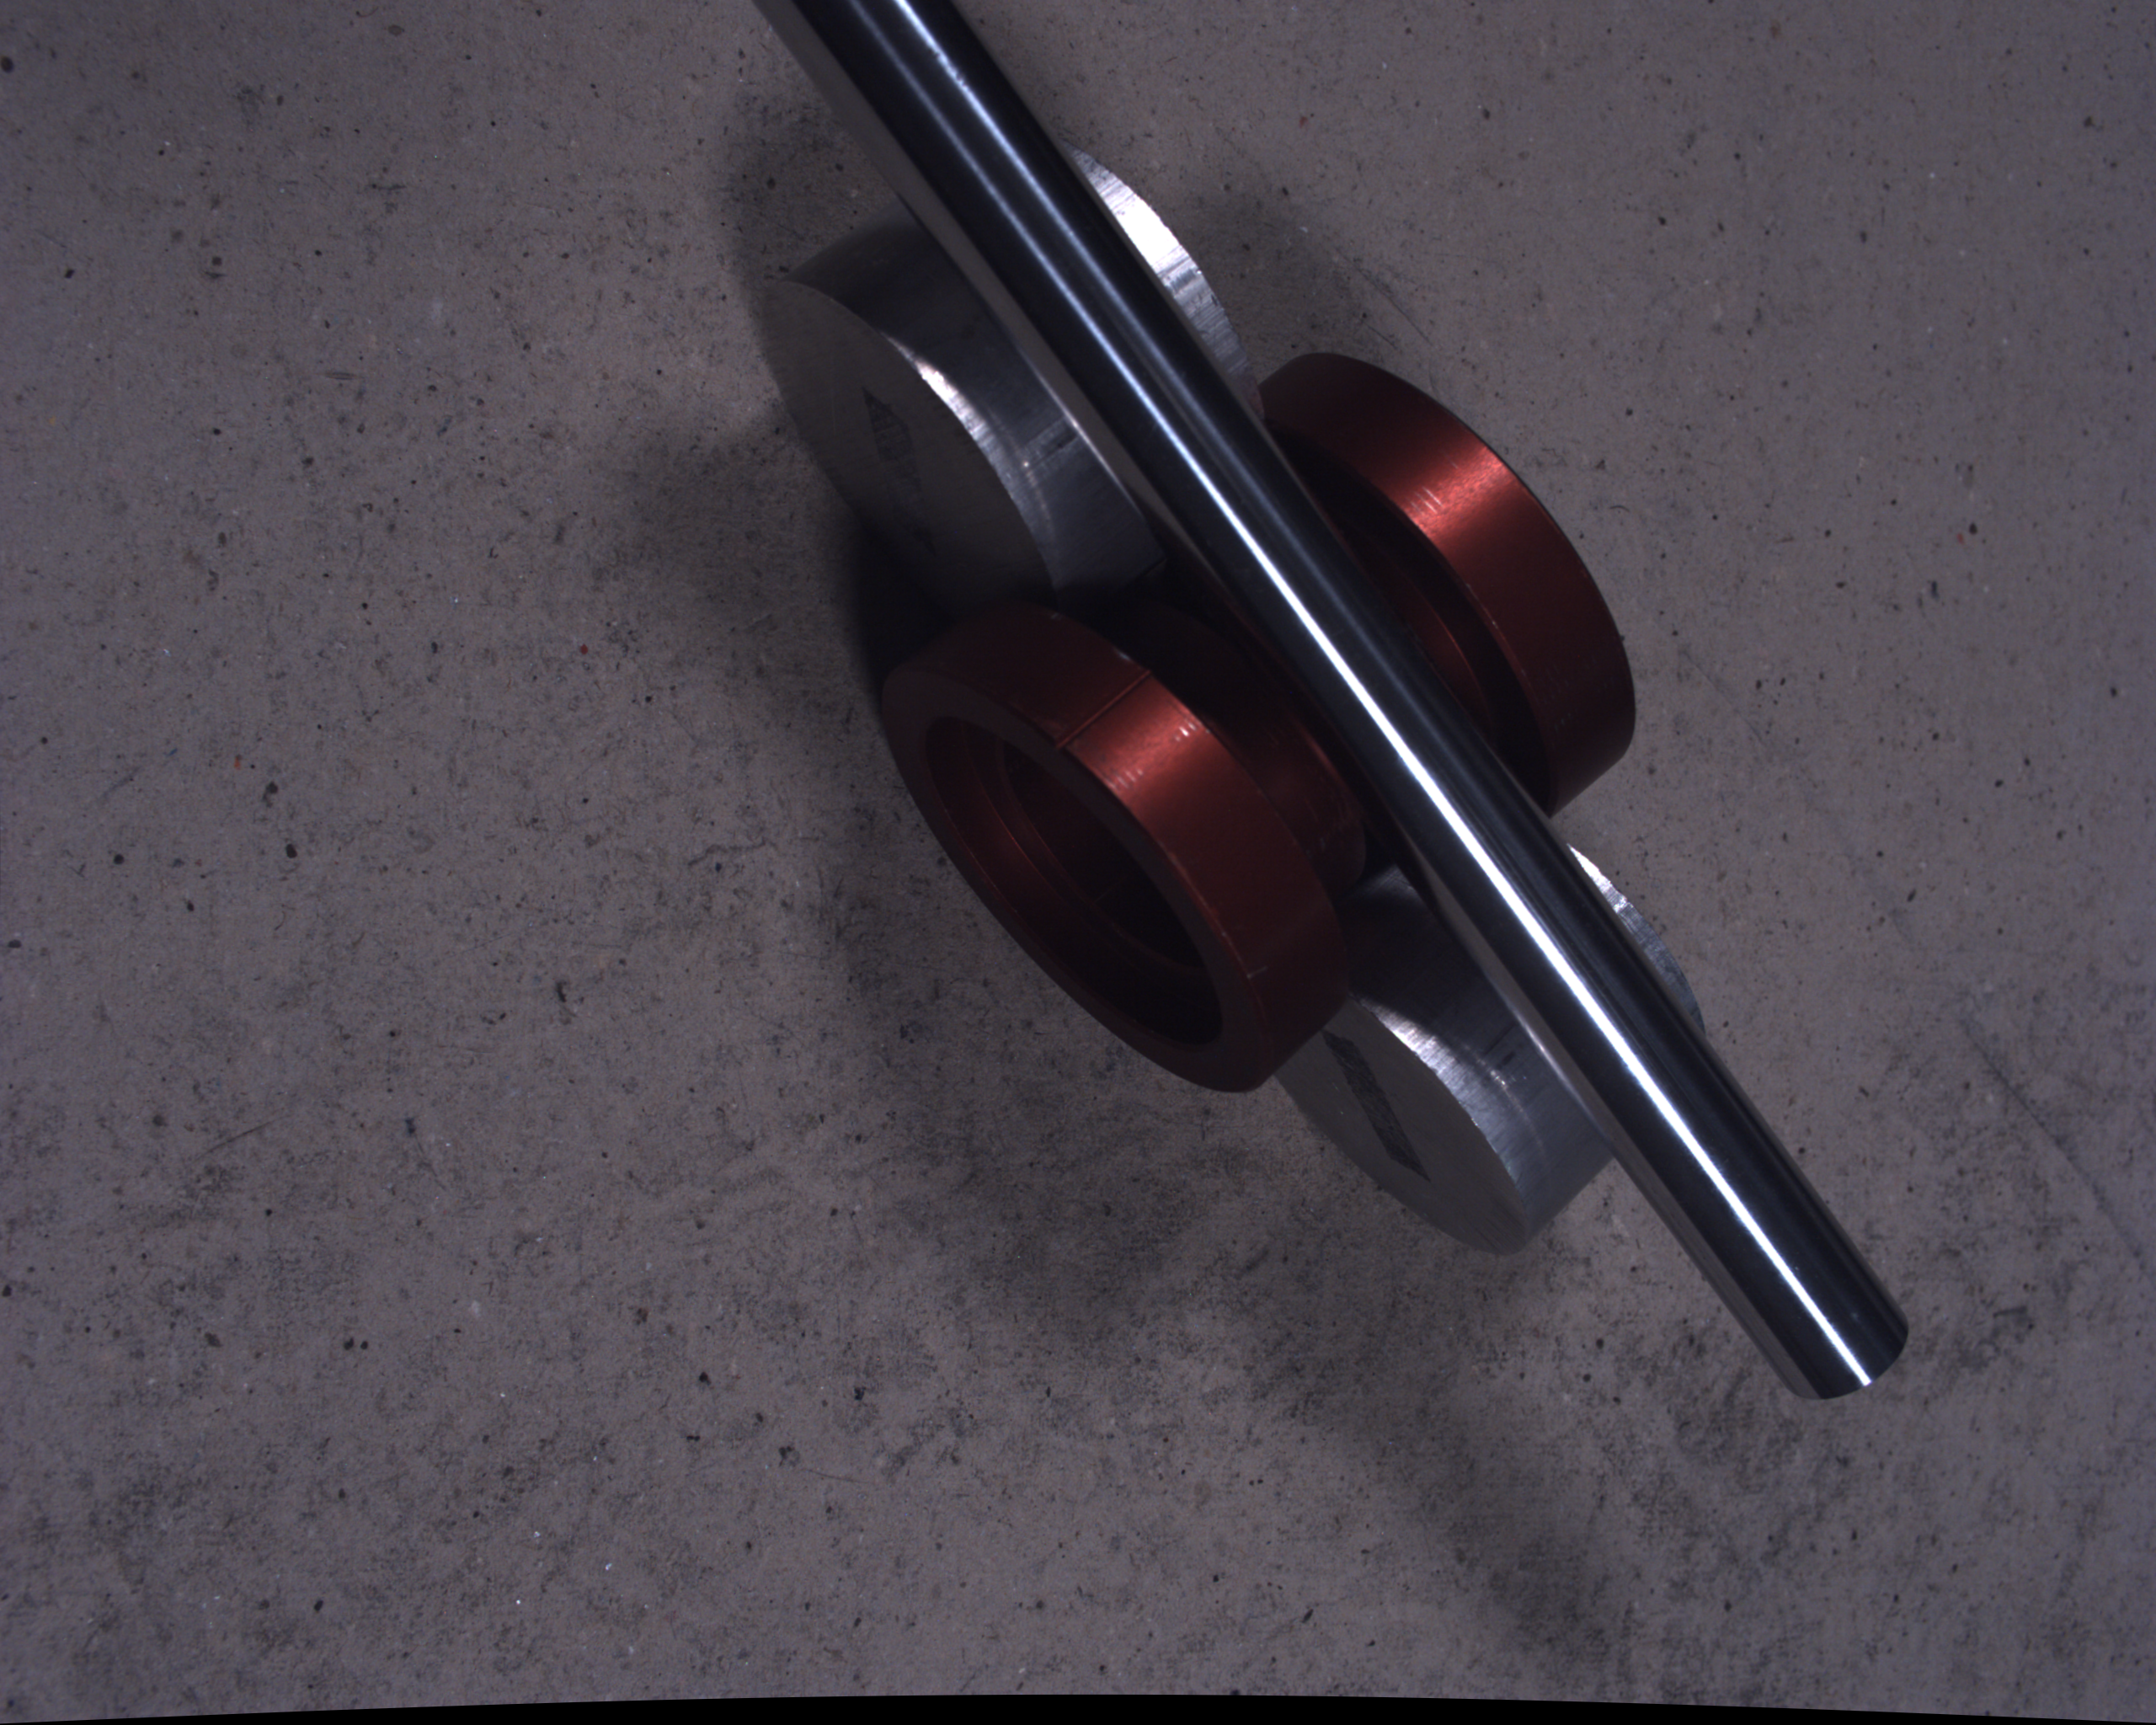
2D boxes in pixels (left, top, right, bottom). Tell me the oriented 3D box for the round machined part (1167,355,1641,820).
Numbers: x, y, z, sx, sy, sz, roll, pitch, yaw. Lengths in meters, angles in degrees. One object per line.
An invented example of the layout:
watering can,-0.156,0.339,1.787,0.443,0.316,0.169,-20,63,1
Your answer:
round machined part,0.055,-0.043,0.393,0.042,0.098,0.098,-40,103,-11

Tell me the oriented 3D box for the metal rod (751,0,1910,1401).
metal rod,0.049,-0.026,0.345,0.025,0.025,0.300,-42,104,-15

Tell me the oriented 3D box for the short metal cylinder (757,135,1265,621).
short metal cylinder,-0.012,-0.084,0.377,0.050,0.080,0.080,-41,103,-16

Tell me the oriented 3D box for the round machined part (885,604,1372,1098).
round machined part,0.014,-0.007,0.376,0.042,0.098,0.098,-42,104,-19

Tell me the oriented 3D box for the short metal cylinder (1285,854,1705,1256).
short metal cylinder,0.075,0.030,0.410,0.050,0.080,0.080,-41,103,-16
